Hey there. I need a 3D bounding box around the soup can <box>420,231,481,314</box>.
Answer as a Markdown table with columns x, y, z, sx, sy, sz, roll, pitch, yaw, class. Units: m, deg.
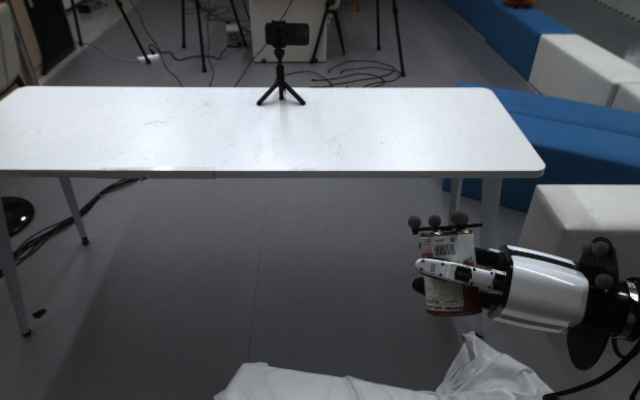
| x | y | z | sx | sy | sz | roll | pitch | yaw | class |
| --- | --- | --- | --- | --- | --- | --- | --- | --- | --- |
| 0.167 | 0.090 | 0.611 | 0.067 | 0.101 | 0.067 | -5 | -5 | 0 | soup can |
